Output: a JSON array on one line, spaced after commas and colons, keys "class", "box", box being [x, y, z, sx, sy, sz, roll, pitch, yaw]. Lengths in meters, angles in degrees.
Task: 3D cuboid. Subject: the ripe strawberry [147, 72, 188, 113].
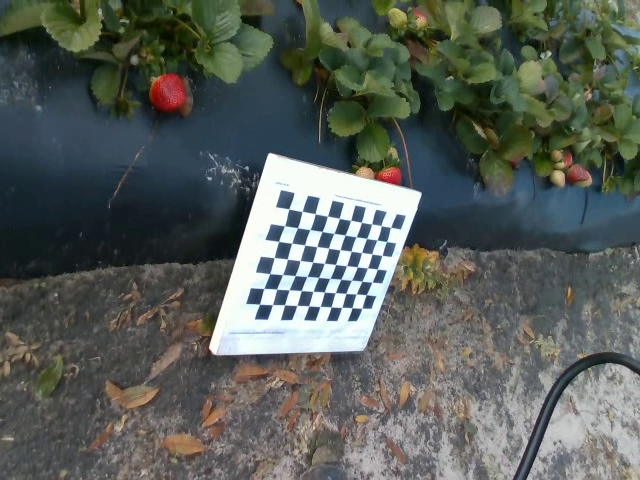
[{"class": "ripe strawberry", "box": [-0.189, -0.180, 0.754, 0.050, 0.049, 0.053, -2, 40, -42]}]
